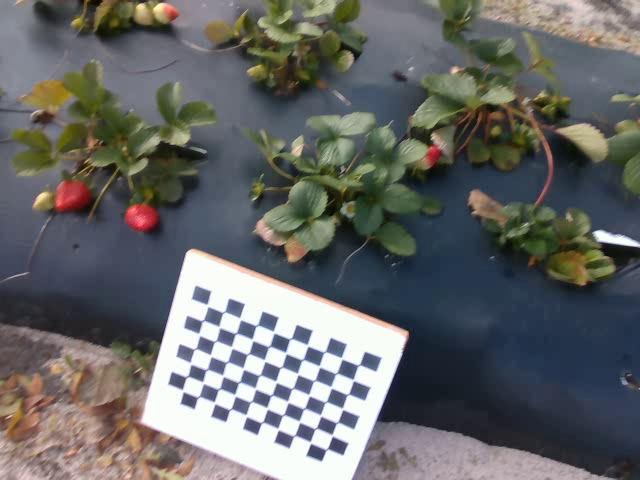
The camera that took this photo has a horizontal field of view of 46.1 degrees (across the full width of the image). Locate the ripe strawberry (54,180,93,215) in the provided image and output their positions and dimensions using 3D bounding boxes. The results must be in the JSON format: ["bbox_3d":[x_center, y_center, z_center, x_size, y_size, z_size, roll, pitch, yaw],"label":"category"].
[{"bbox_3d":[-0.235,-0.040,0.767,0.035,0.041,0.036,8,38,11],"label":"ripe strawberry"}]

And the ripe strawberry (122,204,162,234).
[{"bbox_3d":[-0.169,-0.018,0.766,0.033,0.038,0.039,25,26,-18],"label":"ripe strawberry"}]
